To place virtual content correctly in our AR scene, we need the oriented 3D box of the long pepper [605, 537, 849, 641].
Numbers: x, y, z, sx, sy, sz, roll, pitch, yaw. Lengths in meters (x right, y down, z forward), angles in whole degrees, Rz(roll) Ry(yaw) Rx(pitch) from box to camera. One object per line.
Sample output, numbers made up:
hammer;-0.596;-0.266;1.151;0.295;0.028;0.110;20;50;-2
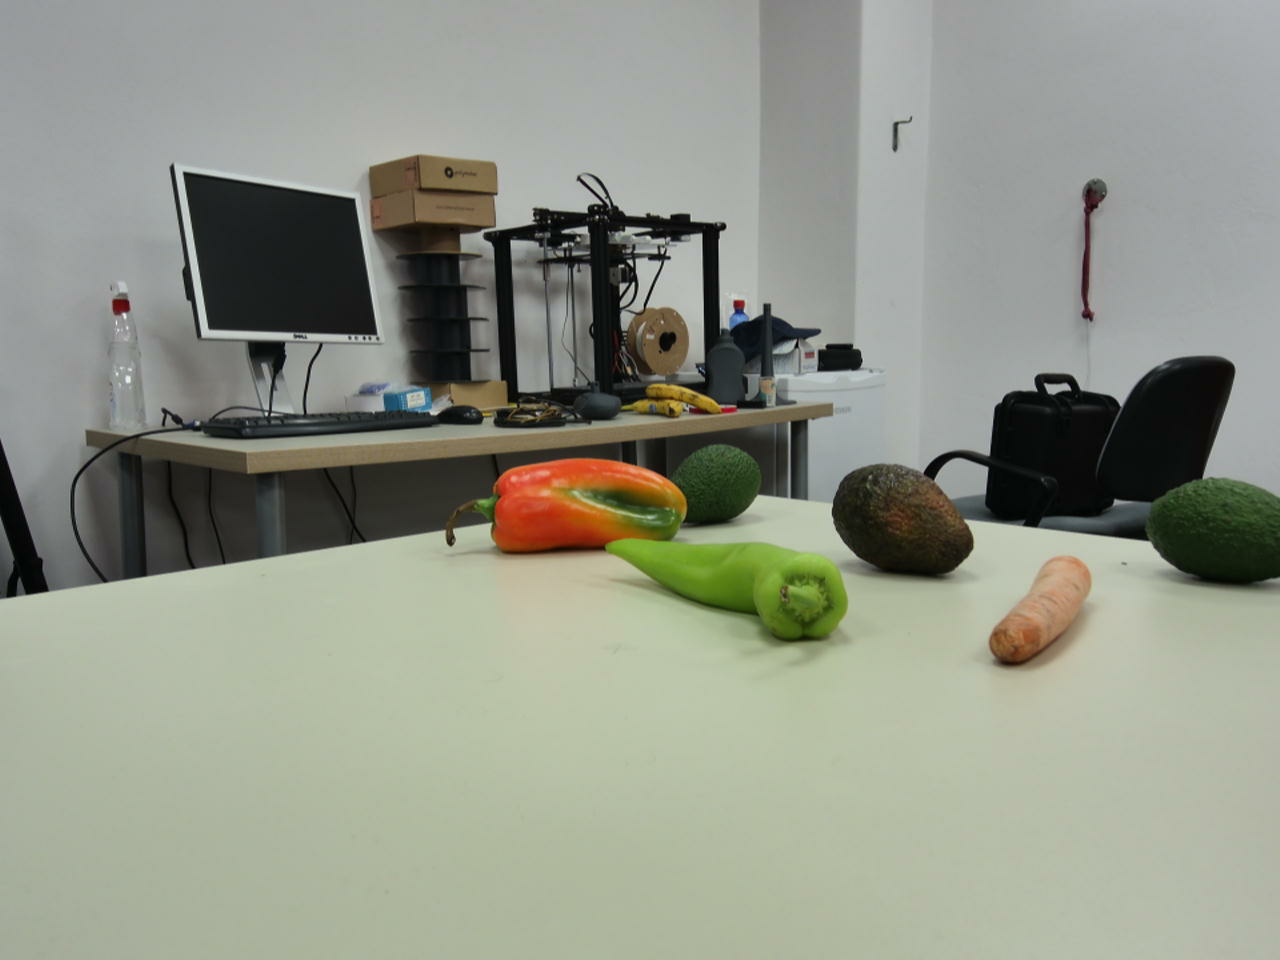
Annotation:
long pepper;0.052;0.054;0.576;0.065;0.045;0.205;-2;6;-26
